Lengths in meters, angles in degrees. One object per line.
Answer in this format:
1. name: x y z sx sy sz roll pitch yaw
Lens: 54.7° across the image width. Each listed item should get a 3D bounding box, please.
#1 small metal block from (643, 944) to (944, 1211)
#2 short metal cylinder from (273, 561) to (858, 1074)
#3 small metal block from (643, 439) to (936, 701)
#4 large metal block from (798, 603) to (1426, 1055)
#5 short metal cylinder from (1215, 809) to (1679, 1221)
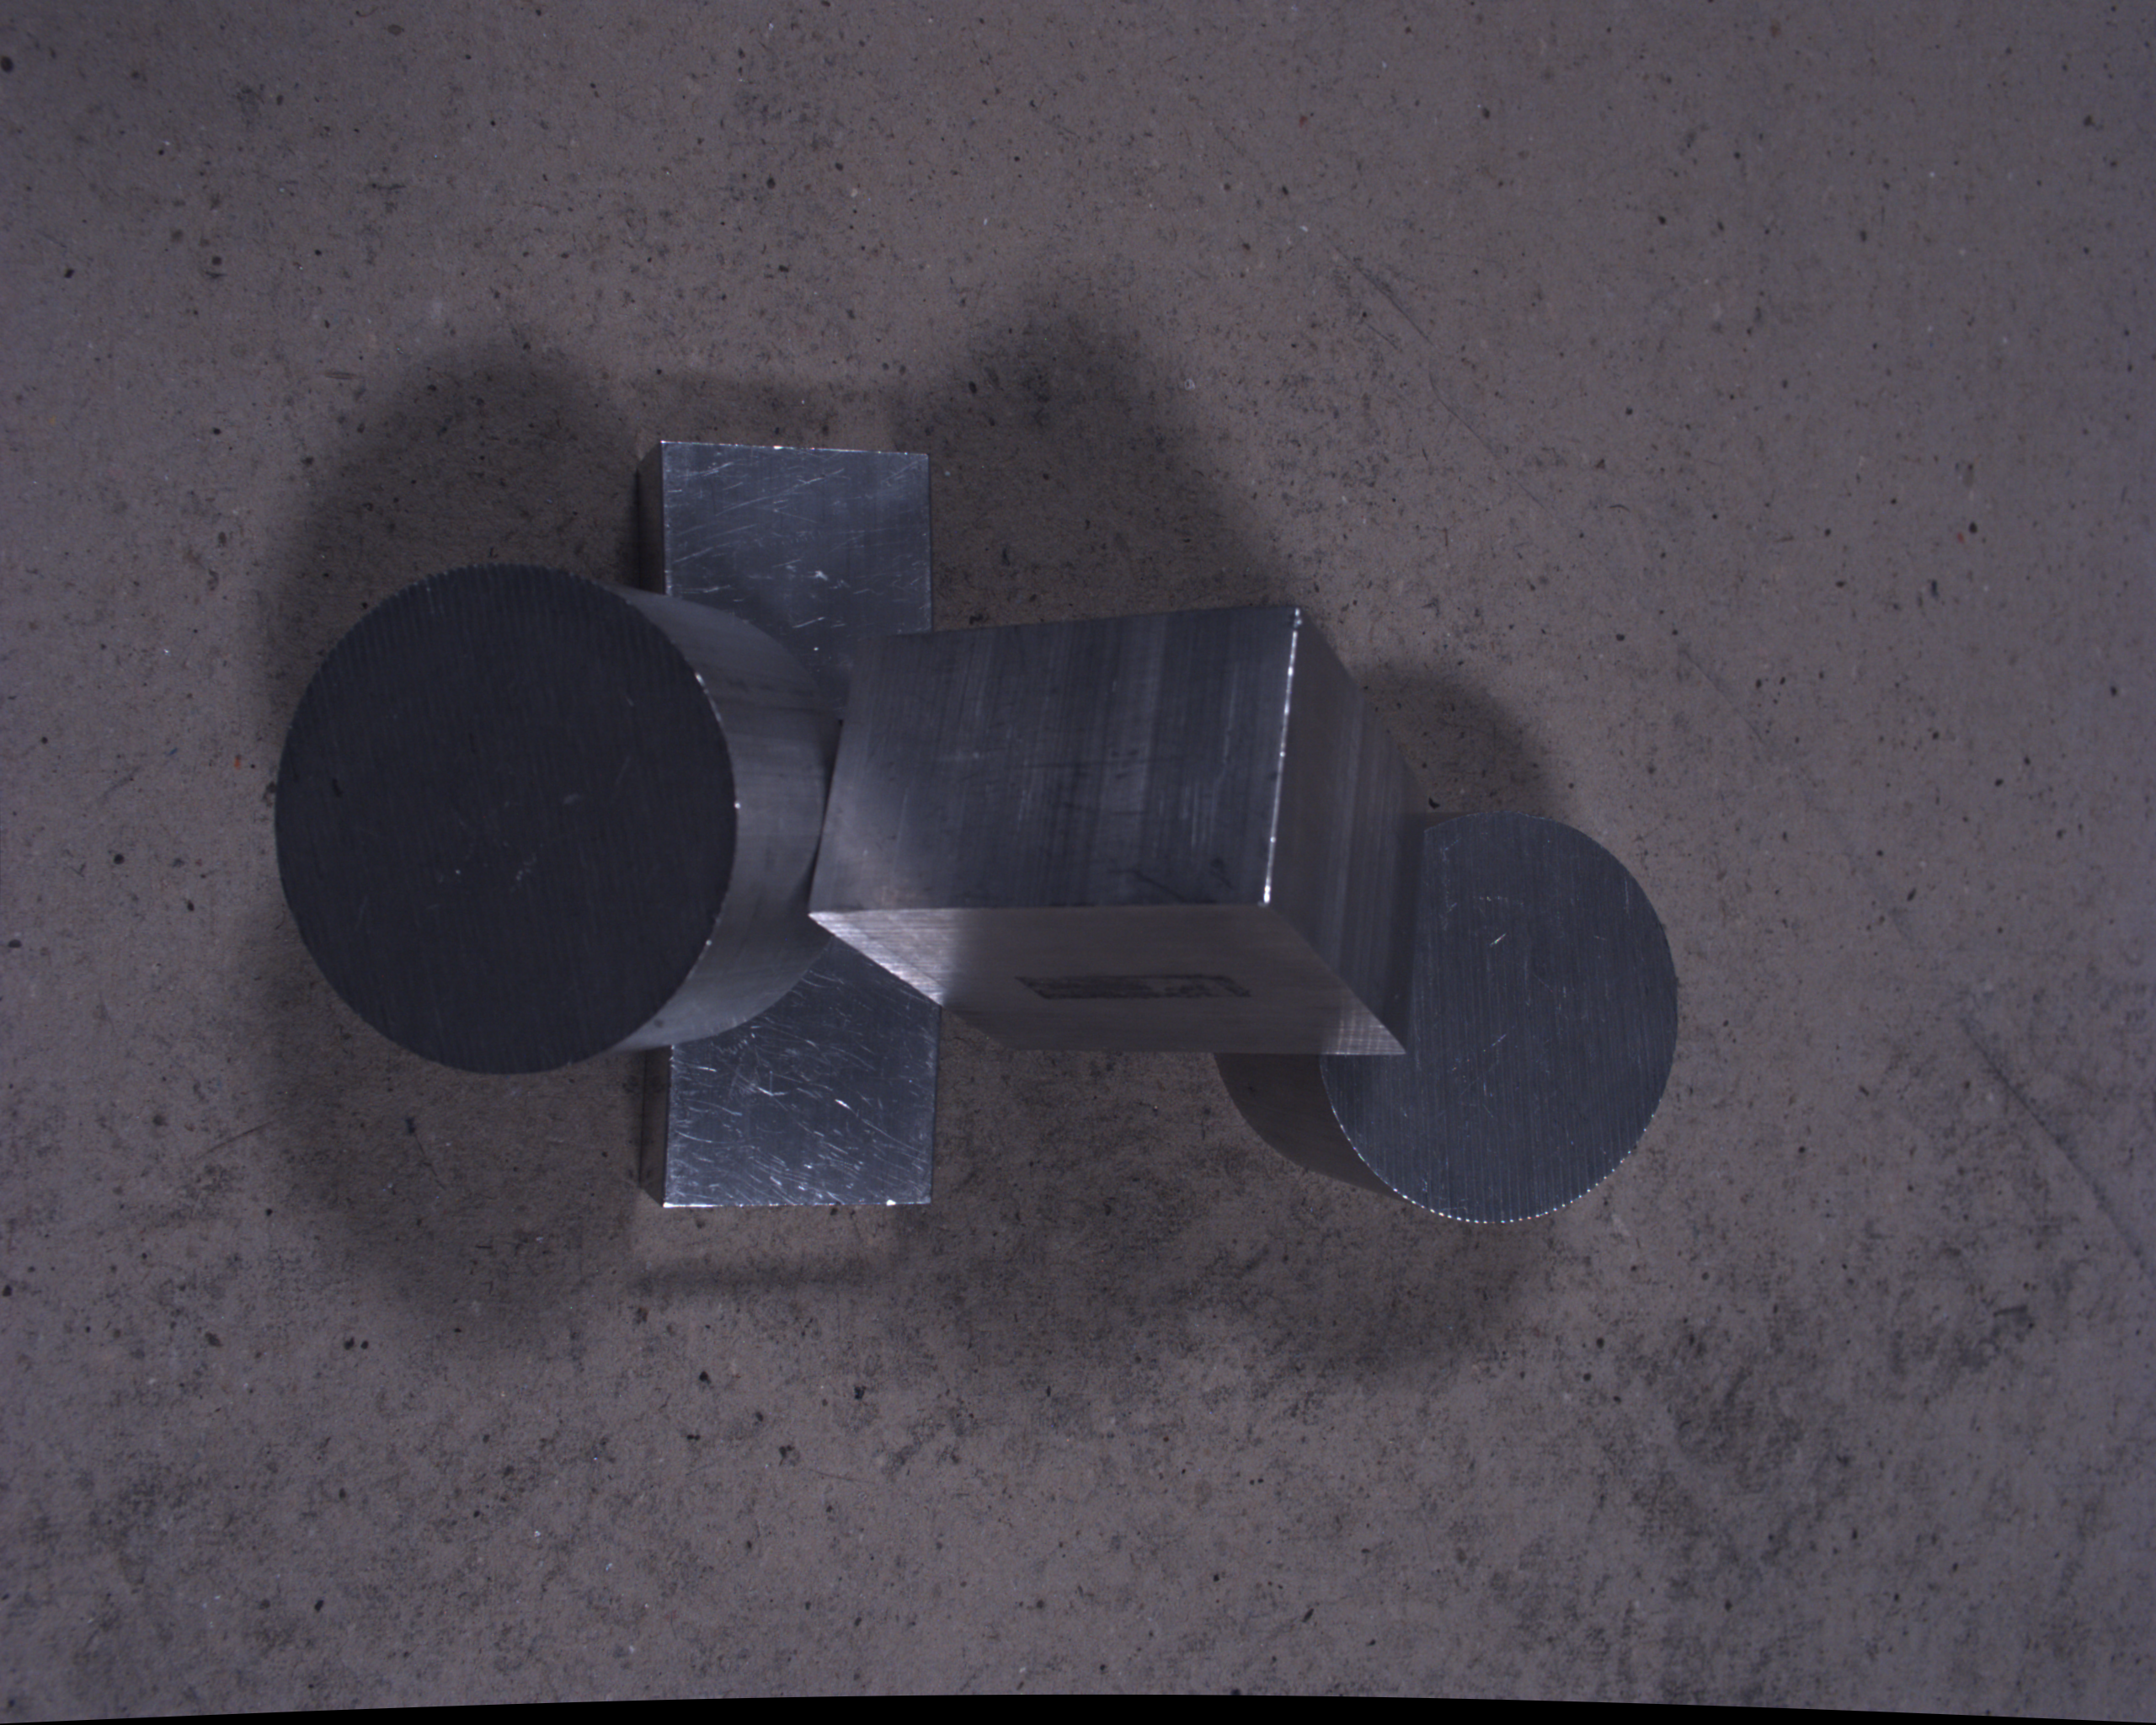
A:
1. small metal block: -0.053 0.038 0.391 0.050 0.025 0.050 3 89 -20
2. short metal cylinder: -0.083 -0.007 0.348 0.080 0.050 0.079 0 91 15
3. small metal block: -0.054 -0.051 0.390 0.050 0.025 0.050 -1 91 -21
4. large metal block: 0.010 -0.002 0.366 0.080 0.080 0.050 43 50 -58
5. short metal cylinder: 0.073 0.029 0.426 0.081 0.050 0.079 0 90 -21
